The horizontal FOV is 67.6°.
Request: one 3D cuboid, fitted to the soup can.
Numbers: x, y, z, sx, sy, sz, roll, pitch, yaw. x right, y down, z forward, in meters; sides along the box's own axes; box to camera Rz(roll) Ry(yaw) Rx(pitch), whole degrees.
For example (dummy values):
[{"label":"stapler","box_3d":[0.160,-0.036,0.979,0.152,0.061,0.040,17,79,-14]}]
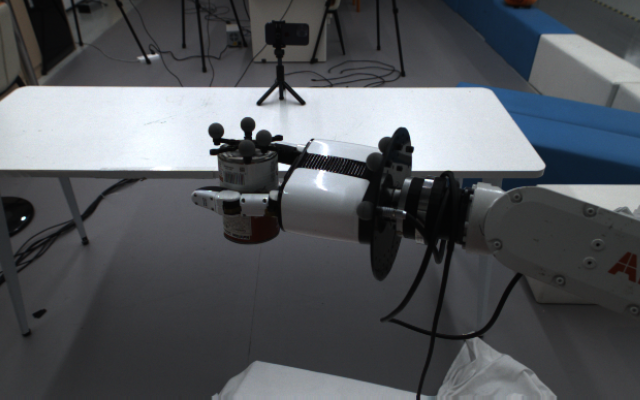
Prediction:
[{"label":"soup can","box_3d":[-0.078,-0.009,0.551,0.067,0.101,0.067,1,25,0]}]
